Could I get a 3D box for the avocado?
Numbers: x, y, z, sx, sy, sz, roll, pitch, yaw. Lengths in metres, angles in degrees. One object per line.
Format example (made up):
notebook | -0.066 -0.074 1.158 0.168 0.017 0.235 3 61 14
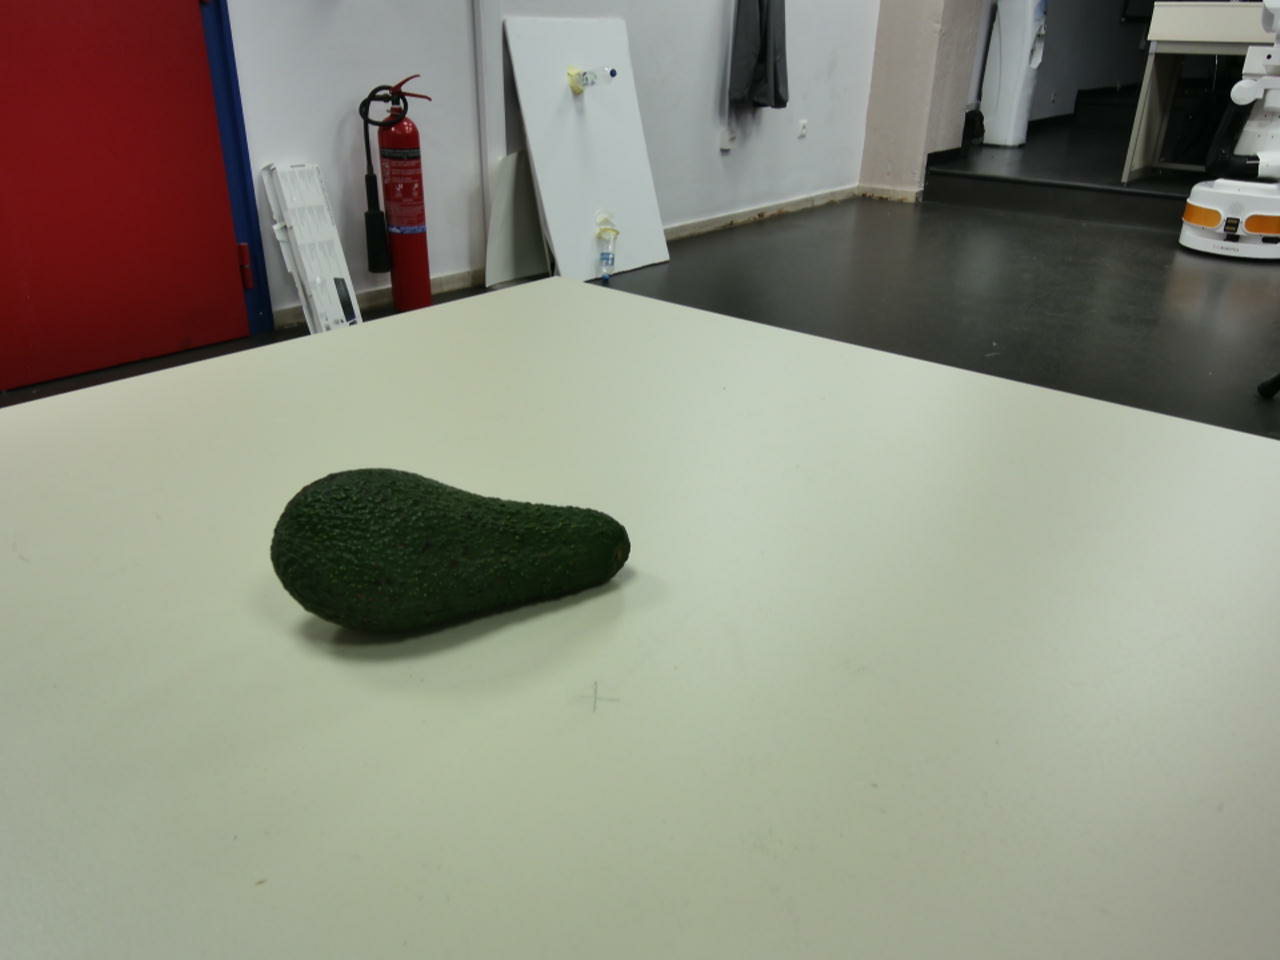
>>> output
avocado | -0.072 0.020 0.395 0.141 0.067 0.063 -16 27 -33
